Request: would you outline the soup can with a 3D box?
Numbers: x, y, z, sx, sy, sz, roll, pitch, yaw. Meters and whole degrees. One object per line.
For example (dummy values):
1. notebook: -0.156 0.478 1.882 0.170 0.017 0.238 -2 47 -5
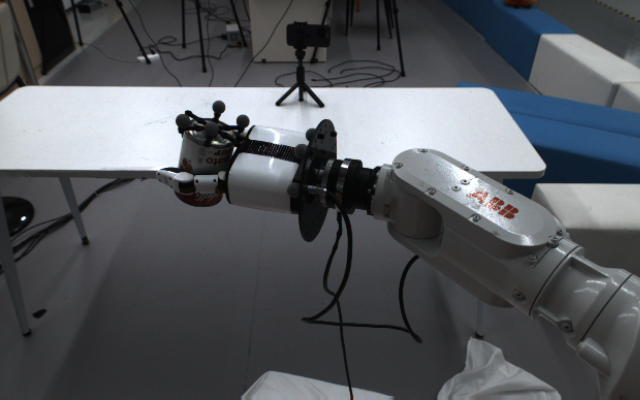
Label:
1. soup can: -0.154 -0.049 0.648 0.067 0.101 0.067 14 35 -11
